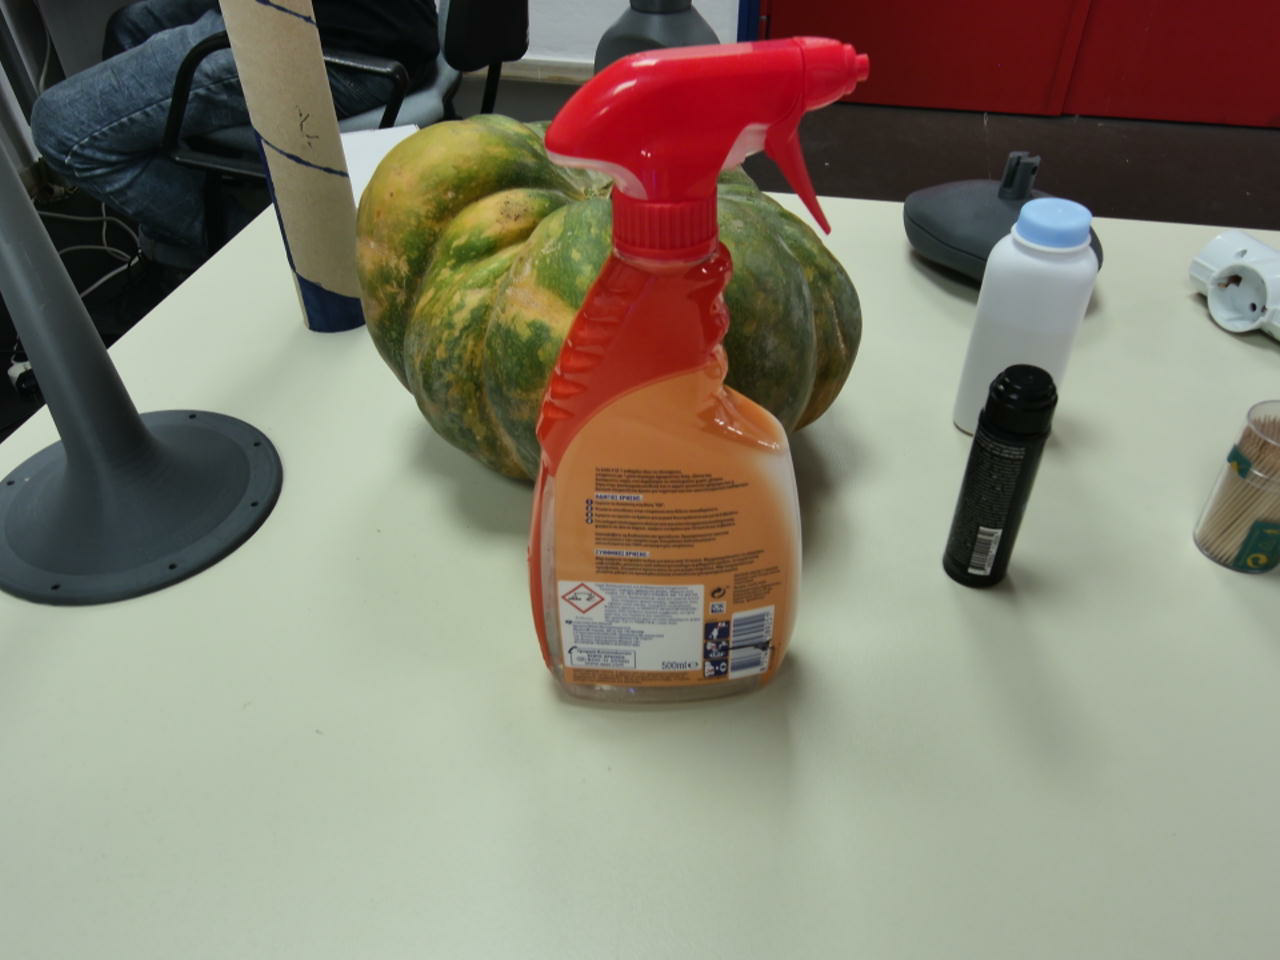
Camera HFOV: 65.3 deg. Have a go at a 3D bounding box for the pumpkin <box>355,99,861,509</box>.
[{"bbox_3d":[-0.015,-0.099,0.522,0.237,0.173,0.270,-28,46,-30],"label":"pumpkin"}]
